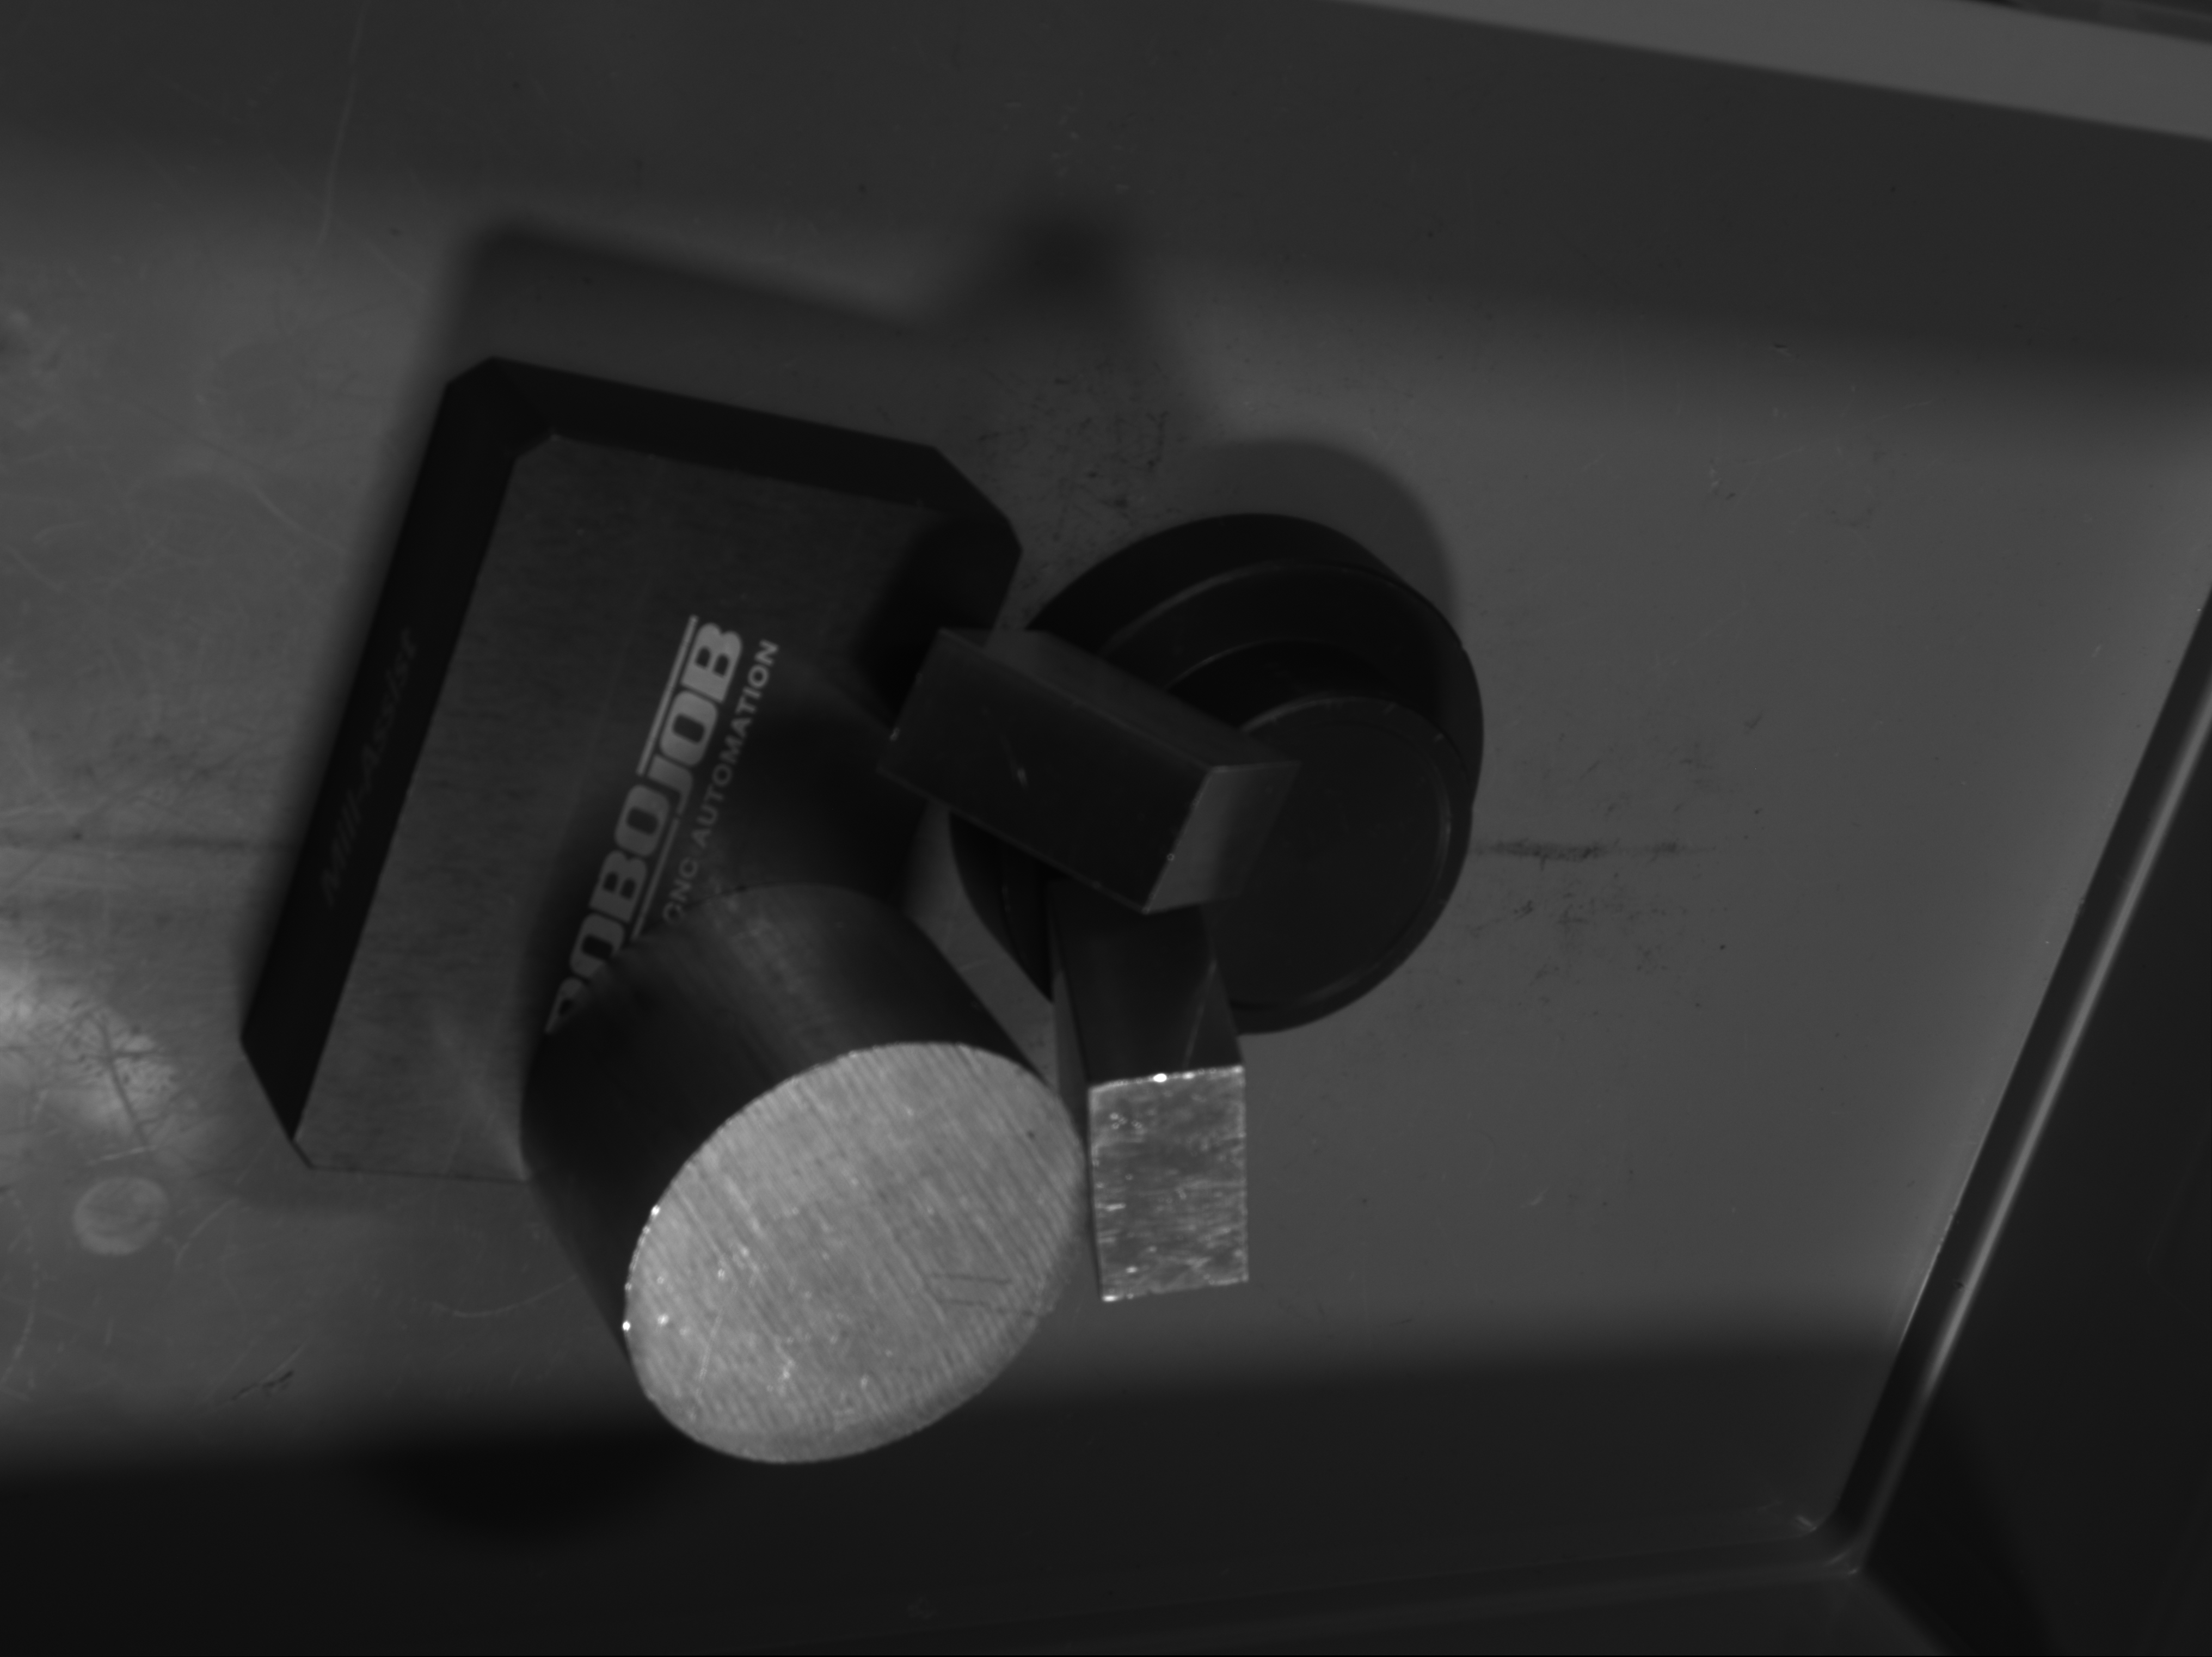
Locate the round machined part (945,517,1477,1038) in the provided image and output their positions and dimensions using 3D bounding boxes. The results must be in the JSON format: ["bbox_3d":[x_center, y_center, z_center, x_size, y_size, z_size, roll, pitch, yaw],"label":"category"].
[{"bbox_3d":[0.024,-0.002,0.650,0.098,0.042,0.098,-15,125,-22],"label":"round machined part"}]

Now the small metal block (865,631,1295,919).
[{"bbox_3d":[-0.003,-0.010,0.592,0.025,0.050,0.050,-65,164,11],"label":"small metal block"}]

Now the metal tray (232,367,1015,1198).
[{"bbox_3d":[-0.079,-0.003,0.596,0.090,0.030,0.130,8,114,-34],"label":"metal tray"}]

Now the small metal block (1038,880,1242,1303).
[{"bbox_3d":[0.006,0.042,0.611,0.025,0.050,0.050,-7,130,-5],"label":"small metal block"}]

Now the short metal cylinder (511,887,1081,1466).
[{"bbox_3d":[-0.051,0.057,0.599,0.080,0.050,0.080,-15,125,-22],"label":"short metal cylinder"}]
